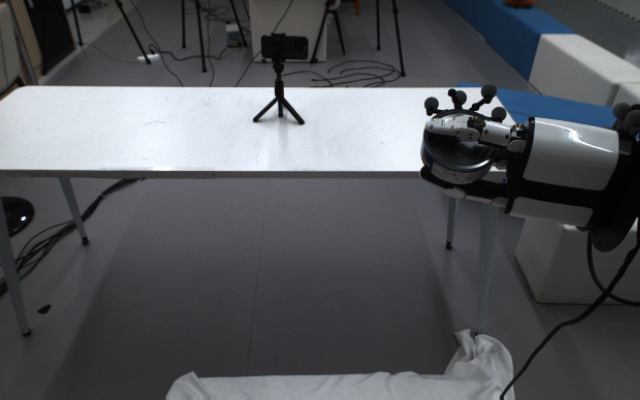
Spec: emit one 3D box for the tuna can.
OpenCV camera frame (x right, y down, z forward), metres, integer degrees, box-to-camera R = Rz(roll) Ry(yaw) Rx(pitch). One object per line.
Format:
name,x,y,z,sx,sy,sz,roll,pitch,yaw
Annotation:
tuna can,0.161,-0.067,0.557,0.085,0.034,0.085,-2,56,3
